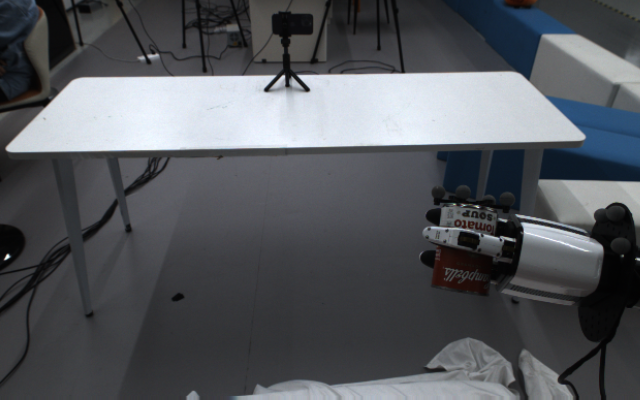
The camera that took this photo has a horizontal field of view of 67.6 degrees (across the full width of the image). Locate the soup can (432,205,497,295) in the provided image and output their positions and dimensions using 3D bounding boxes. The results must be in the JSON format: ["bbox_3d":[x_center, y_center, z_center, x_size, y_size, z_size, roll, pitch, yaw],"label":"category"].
[{"bbox_3d":[0.175,0.059,0.581,0.067,0.101,0.067,9,-6,1],"label":"soup can"}]
